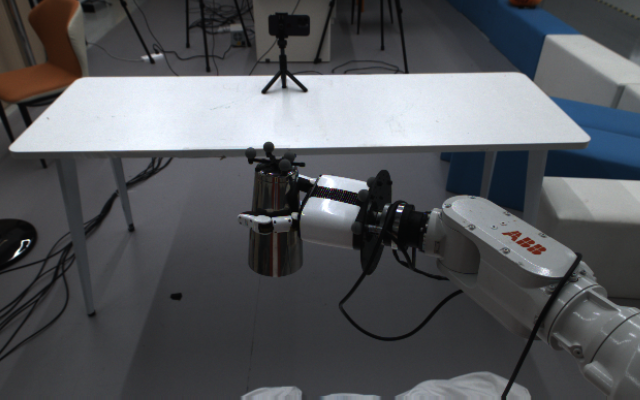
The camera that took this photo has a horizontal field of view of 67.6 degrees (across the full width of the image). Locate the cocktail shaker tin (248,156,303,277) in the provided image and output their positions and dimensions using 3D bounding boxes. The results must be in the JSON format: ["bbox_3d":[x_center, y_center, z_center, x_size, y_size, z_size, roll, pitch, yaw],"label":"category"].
[{"bbox_3d":[-0.070,0.026,0.773,0.093,0.170,0.093,2,26,-1],"label":"cocktail shaker tin"}]
